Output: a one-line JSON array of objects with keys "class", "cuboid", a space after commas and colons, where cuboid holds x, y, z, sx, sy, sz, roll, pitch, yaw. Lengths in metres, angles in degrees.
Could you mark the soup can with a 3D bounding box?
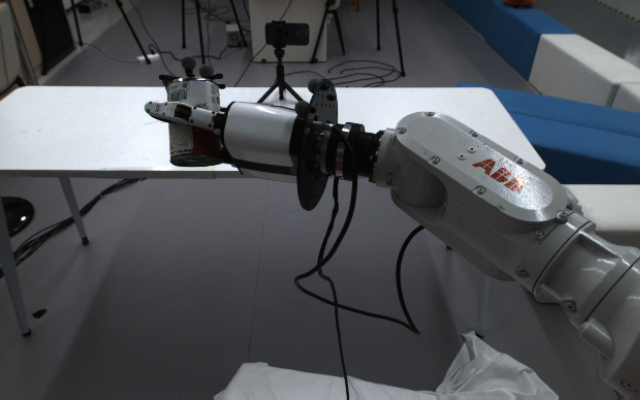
[{"class": "soup can", "cuboid": [-0.160, -0.097, 0.624, 0.067, 0.101, 0.067, -5, -5, 0]}]
